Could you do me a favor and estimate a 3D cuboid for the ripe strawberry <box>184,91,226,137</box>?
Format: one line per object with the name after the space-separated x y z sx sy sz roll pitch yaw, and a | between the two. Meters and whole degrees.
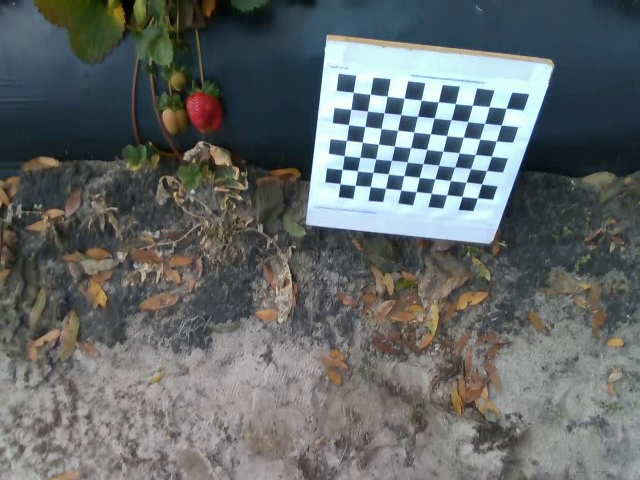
-0.180 -0.190 0.791 0.066 0.075 0.053 -10 30 8 | ripe strawberry
